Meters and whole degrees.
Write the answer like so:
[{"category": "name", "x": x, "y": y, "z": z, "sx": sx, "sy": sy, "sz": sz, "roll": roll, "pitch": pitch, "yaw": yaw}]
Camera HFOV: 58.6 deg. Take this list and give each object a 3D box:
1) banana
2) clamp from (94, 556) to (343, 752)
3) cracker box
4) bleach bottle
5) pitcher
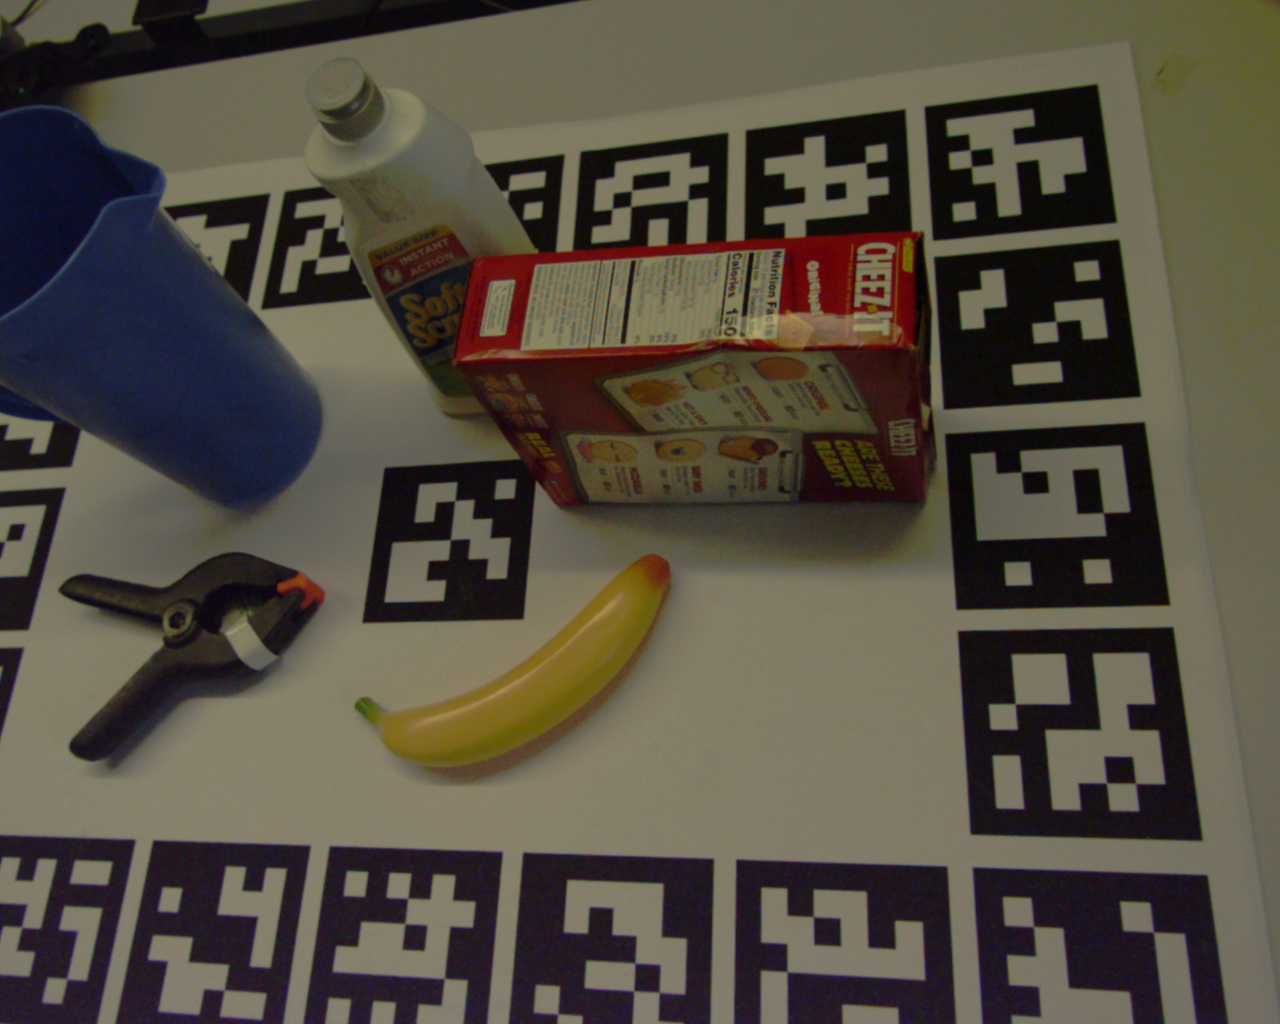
[{"category": "banana", "x": -0.056, "y": 0.086, "z": 0.667, "sx": 0.197, "sy": 0.038, "sz": 0.075, "roll": -34, "pitch": 61, "yaw": -1}, {"category": "clamp", "x": -0.271, "y": 0.074, "z": 0.726, "sx": 0.165, "sy": 0.036, "sz": 0.122, "roll": -18, "pitch": 61, "yaw": 5}, {"category": "cracker box", "x": 0.037, "y": -0.066, "z": 0.615, "sx": 0.215, "sy": 0.162, "sz": 0.072, "roll": -2, "pitch": 62, "yaw": 16}, {"category": "bleach bottle", "x": -0.117, "y": -0.137, "z": 0.661, "sx": 0.103, "sy": 0.248, "sz": 0.068, "roll": -4, "pitch": 64, "yaw": 14}, {"category": "pitcher", "x": -0.305, "y": -0.096, "z": 0.675, "sx": 0.189, "sy": 0.240, "sz": 0.134, "roll": -20, "pitch": 62, "yaw": 3}]
